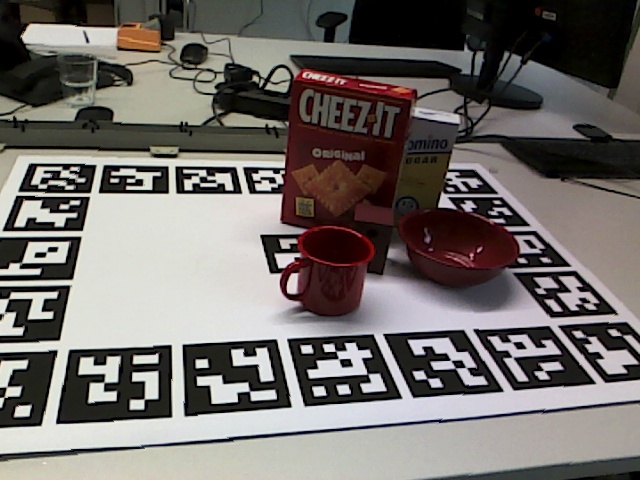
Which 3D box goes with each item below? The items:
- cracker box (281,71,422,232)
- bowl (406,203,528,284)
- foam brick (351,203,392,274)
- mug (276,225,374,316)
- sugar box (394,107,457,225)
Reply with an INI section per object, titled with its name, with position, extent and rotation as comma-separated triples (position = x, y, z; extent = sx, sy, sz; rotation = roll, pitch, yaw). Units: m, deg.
[cracker box]
position = 0.039, -0.115, 0.883
extent = 0.165, 0.213, 0.072
rotation = 16, 29, 13
[bowl]
position = 0.192, 0.011, 0.834
extent = 0.161, 0.055, 0.162
rotation = 5, 31, -3
[foam brick]
position = 0.066, -0.002, 0.837
extent = 0.053, 0.078, 0.051
rotation = 7, 29, 2
[mug]
position = 0.004, 0.038, 0.736
extent = 0.117, 0.081, 0.094
rotation = -7, 25, -19
[sugar box]
position = 0.142, -0.108, 0.925
extent = 0.093, 0.176, 0.045
rotation = 10, 30, 7
